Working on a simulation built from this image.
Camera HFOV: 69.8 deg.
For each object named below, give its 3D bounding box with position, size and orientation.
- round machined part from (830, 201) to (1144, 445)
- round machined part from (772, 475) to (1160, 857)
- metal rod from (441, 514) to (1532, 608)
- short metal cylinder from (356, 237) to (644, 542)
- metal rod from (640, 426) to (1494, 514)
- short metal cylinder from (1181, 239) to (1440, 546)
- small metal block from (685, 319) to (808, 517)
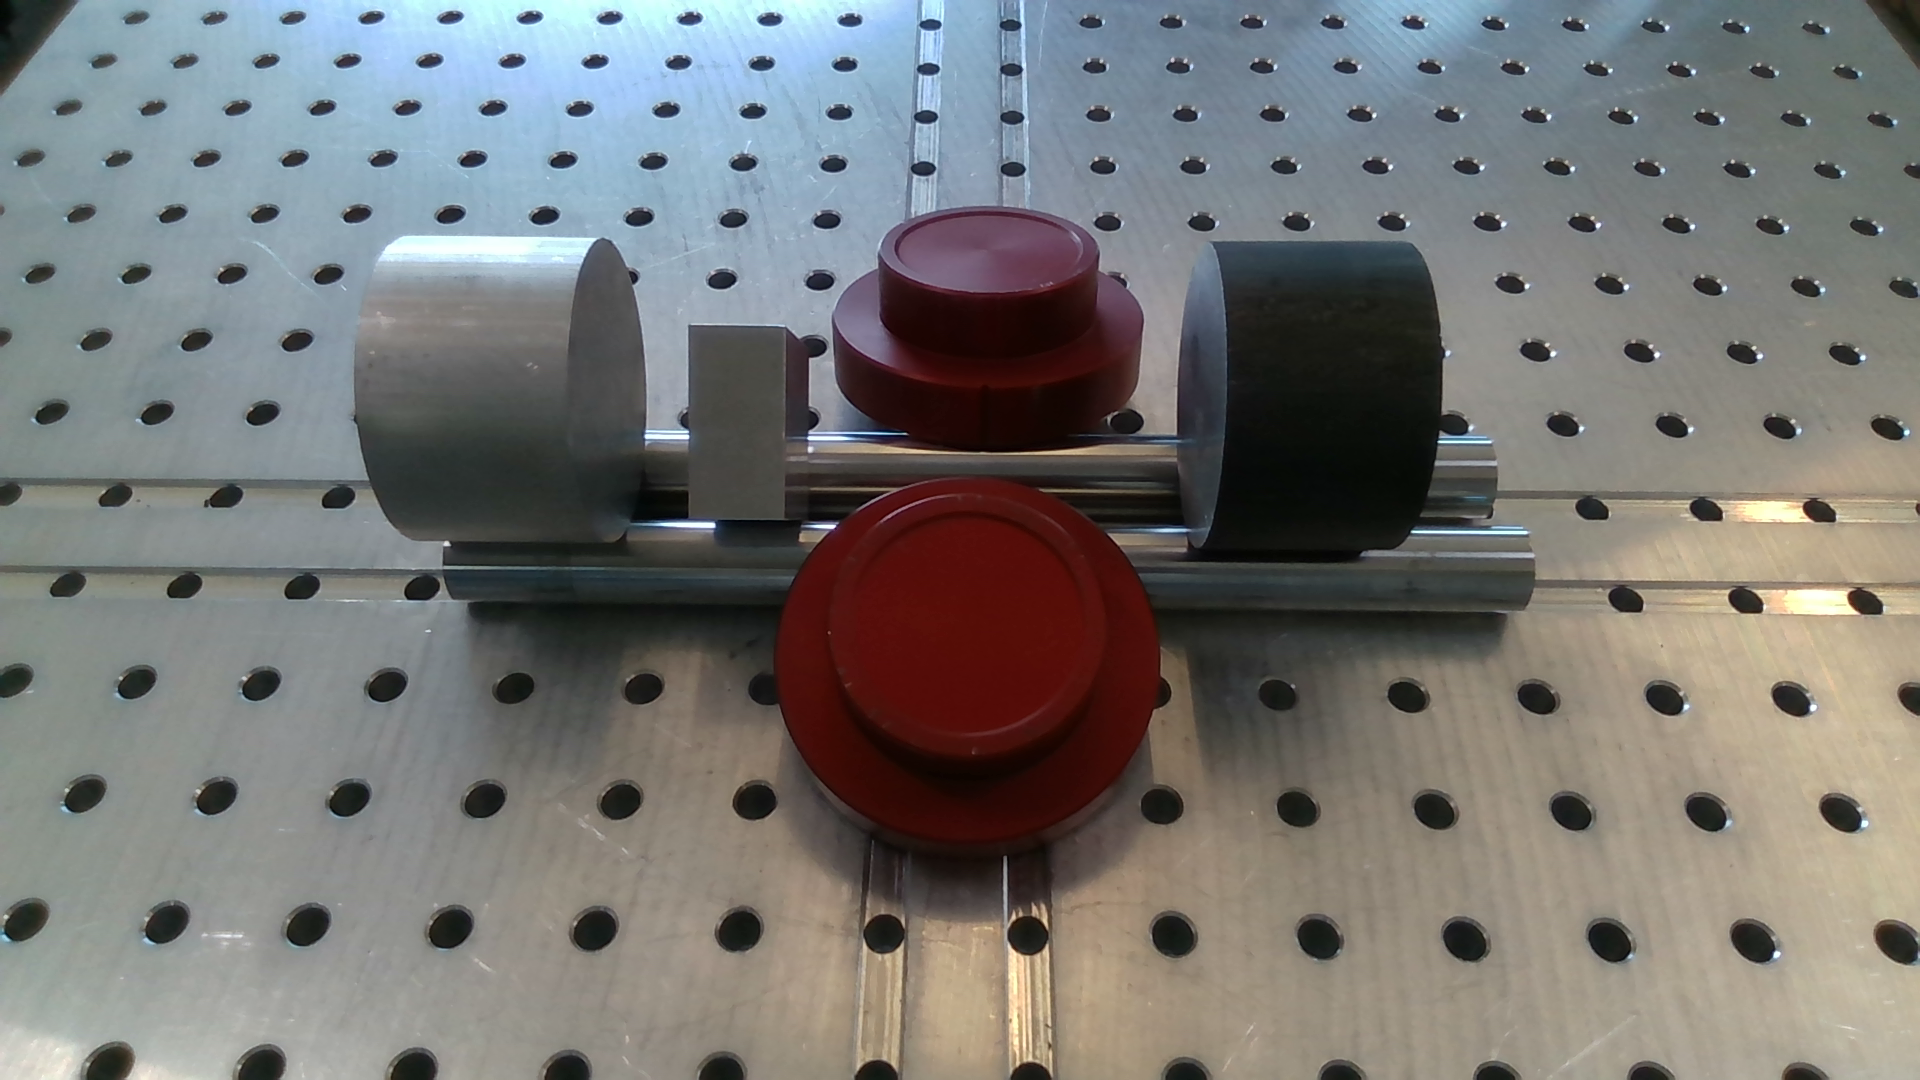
[{"bbox_3d":[0.008,-0.073,0.431,0.098,0.042,0.098,0,36,0],"label":"round machined part"},{"bbox_3d":[0.002,0.026,0.346,0.098,0.042,0.098,0,65,0],"label":"round machined part"},{"bbox_3d":[0.007,0.006,0.391,0.300,0.025,0.025,0,50,0],"label":"metal rod"},{"bbox_3d":[-0.118,-0.040,0.366,0.050,0.080,0.080,0,50,0],"label":"short metal cylinder"},{"bbox_3d":[0.005,-0.021,0.413,0.300,0.025,0.025,0,50,0],"label":"metal rod"},{"bbox_3d":[0.088,-0.038,0.364,0.050,0.080,0.080,0,50,0],"label":"short metal cylinder"},{"bbox_3d":[-0.057,-0.032,0.377,0.025,0.050,0.050,1,92,0],"label":"small metal block"}]
